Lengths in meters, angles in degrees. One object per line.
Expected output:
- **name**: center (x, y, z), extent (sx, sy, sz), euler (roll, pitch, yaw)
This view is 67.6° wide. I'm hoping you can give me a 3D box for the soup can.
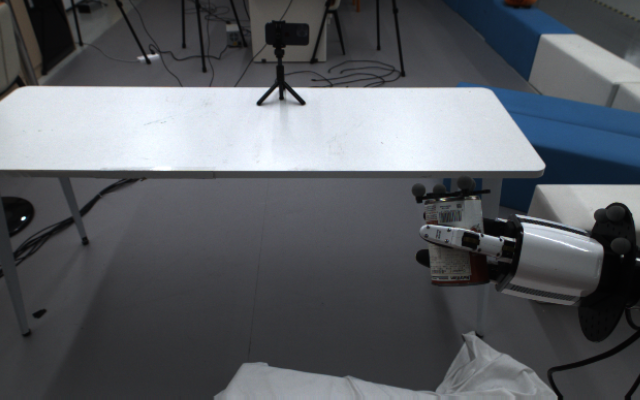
- **soup can**: center (0.166, 0.048, 0.582), extent (0.067, 0.101, 0.067), euler (-5, -5, 0)
